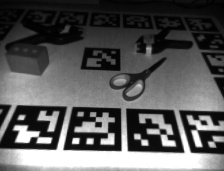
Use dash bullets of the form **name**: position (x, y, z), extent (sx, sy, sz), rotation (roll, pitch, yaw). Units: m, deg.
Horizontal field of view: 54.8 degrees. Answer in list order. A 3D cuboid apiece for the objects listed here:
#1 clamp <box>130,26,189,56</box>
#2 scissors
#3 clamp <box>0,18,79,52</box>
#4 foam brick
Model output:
- **clamp**: position (0.127, -0.126, 0.627), extent (0.166, 0.037, 0.120), rotation (-19, 57, -20)
- **scissors**: position (0.061, -0.023, 0.526), extent (0.087, 0.016, 0.204), rotation (38, 52, 19)
- **clamp**: position (-0.199, -0.146, 0.620), extent (0.203, 0.037, 0.164), rotation (0, 43, -5)
- **foam brick**: position (-0.219, -0.054, 0.520), extent (0.078, 0.052, 0.052), rotation (5, 47, 8)
